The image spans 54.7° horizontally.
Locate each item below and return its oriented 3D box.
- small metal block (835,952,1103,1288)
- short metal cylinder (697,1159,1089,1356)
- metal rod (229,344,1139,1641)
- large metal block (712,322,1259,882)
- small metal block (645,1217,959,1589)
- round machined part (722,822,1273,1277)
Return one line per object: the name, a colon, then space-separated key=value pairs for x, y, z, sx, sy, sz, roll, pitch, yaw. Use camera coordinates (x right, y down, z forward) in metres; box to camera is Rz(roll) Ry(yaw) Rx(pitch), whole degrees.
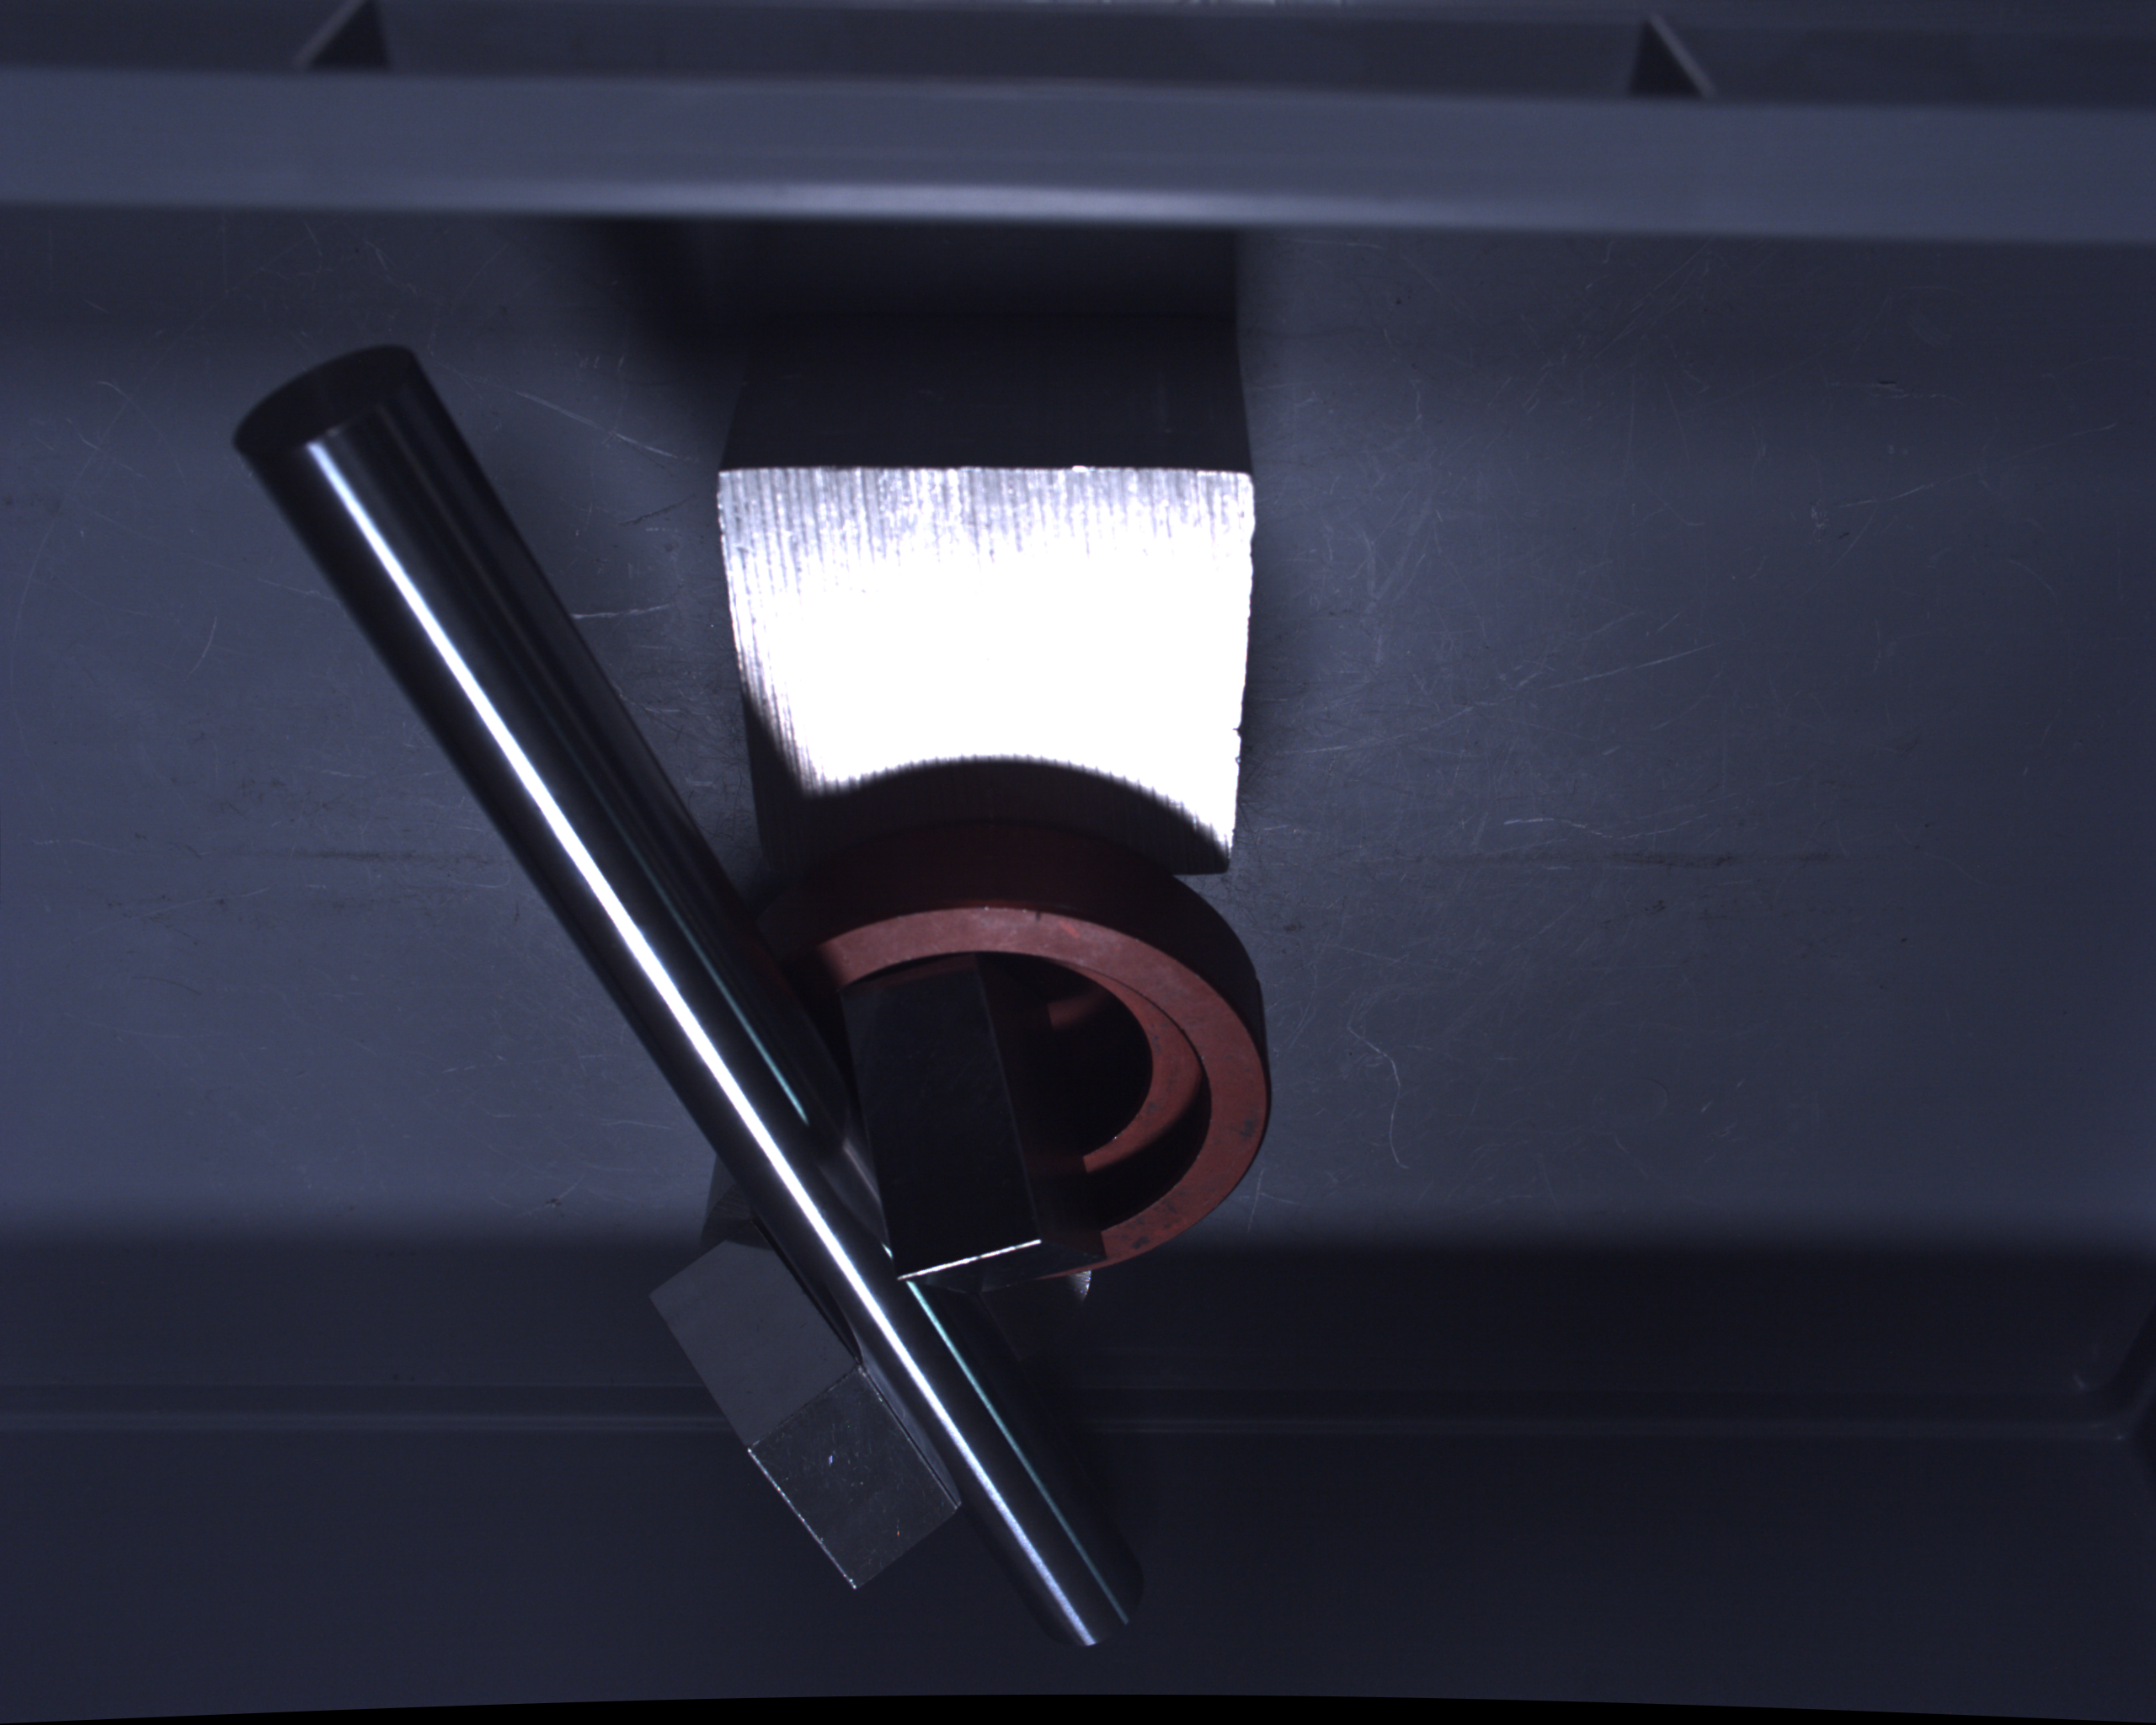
small metal block: x=-0.018 y=0.046 z=0.367 sx=0.025 sy=0.050 sz=0.050 roll=-17 pitch=163 yaw=9
short metal cylinder: x=-0.038 y=0.067 z=0.448 sx=0.081 sy=0.050 sz=0.079 roll=0 pitch=130 yaw=0
metal rod: x=-0.047 y=0.048 z=0.356 sx=0.025 sy=0.025 sz=0.299 roll=-15 pitch=129 yaw=12
large metal block: x=-0.014 y=-0.043 z=0.352 sx=0.081 sy=0.050 sz=0.079 roll=0 pitch=130 yaw=-1
small metal block: x=-0.055 y=0.106 z=0.412 sx=0.025 sy=0.050 sz=0.050 roll=-35 pitch=129 yaw=-15
round machined part: x=-0.015 y=0.030 z=0.383 sx=0.099 sy=0.042 sz=0.097 roll=-1 pitch=130 yaw=0
